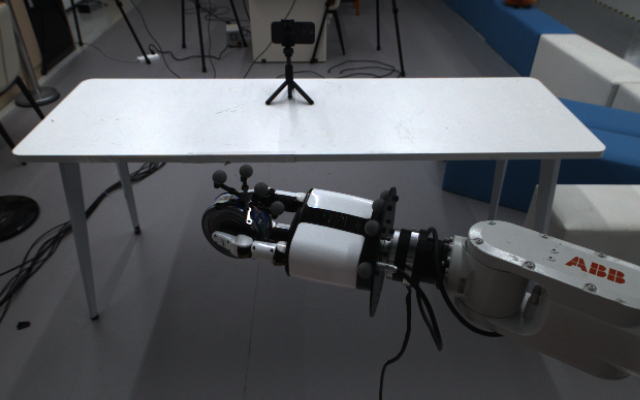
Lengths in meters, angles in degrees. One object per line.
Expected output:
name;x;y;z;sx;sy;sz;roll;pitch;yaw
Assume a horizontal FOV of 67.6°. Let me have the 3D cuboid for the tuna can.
tuna can;-0.104;0.039;0.618;0.085;0.085;0.034;12;35;14
